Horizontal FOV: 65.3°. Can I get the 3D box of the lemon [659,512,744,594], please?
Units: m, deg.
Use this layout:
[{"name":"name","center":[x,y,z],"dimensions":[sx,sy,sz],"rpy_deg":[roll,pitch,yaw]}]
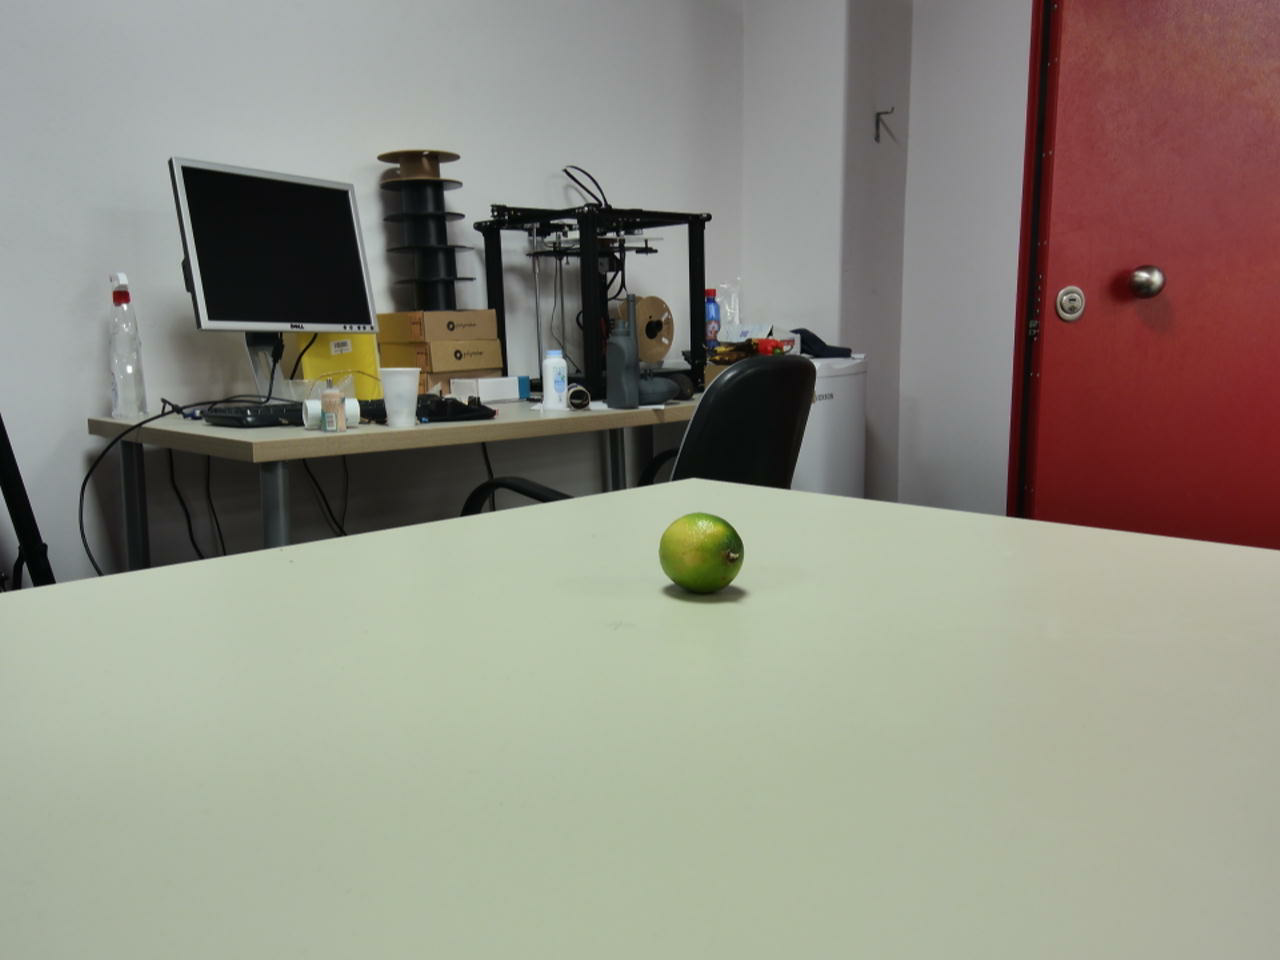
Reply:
[{"name":"lemon","center":[0.039,0.046,0.644],"dimensions":[0.054,0.050,0.055],"rpy_deg":[1,7,6]}]
